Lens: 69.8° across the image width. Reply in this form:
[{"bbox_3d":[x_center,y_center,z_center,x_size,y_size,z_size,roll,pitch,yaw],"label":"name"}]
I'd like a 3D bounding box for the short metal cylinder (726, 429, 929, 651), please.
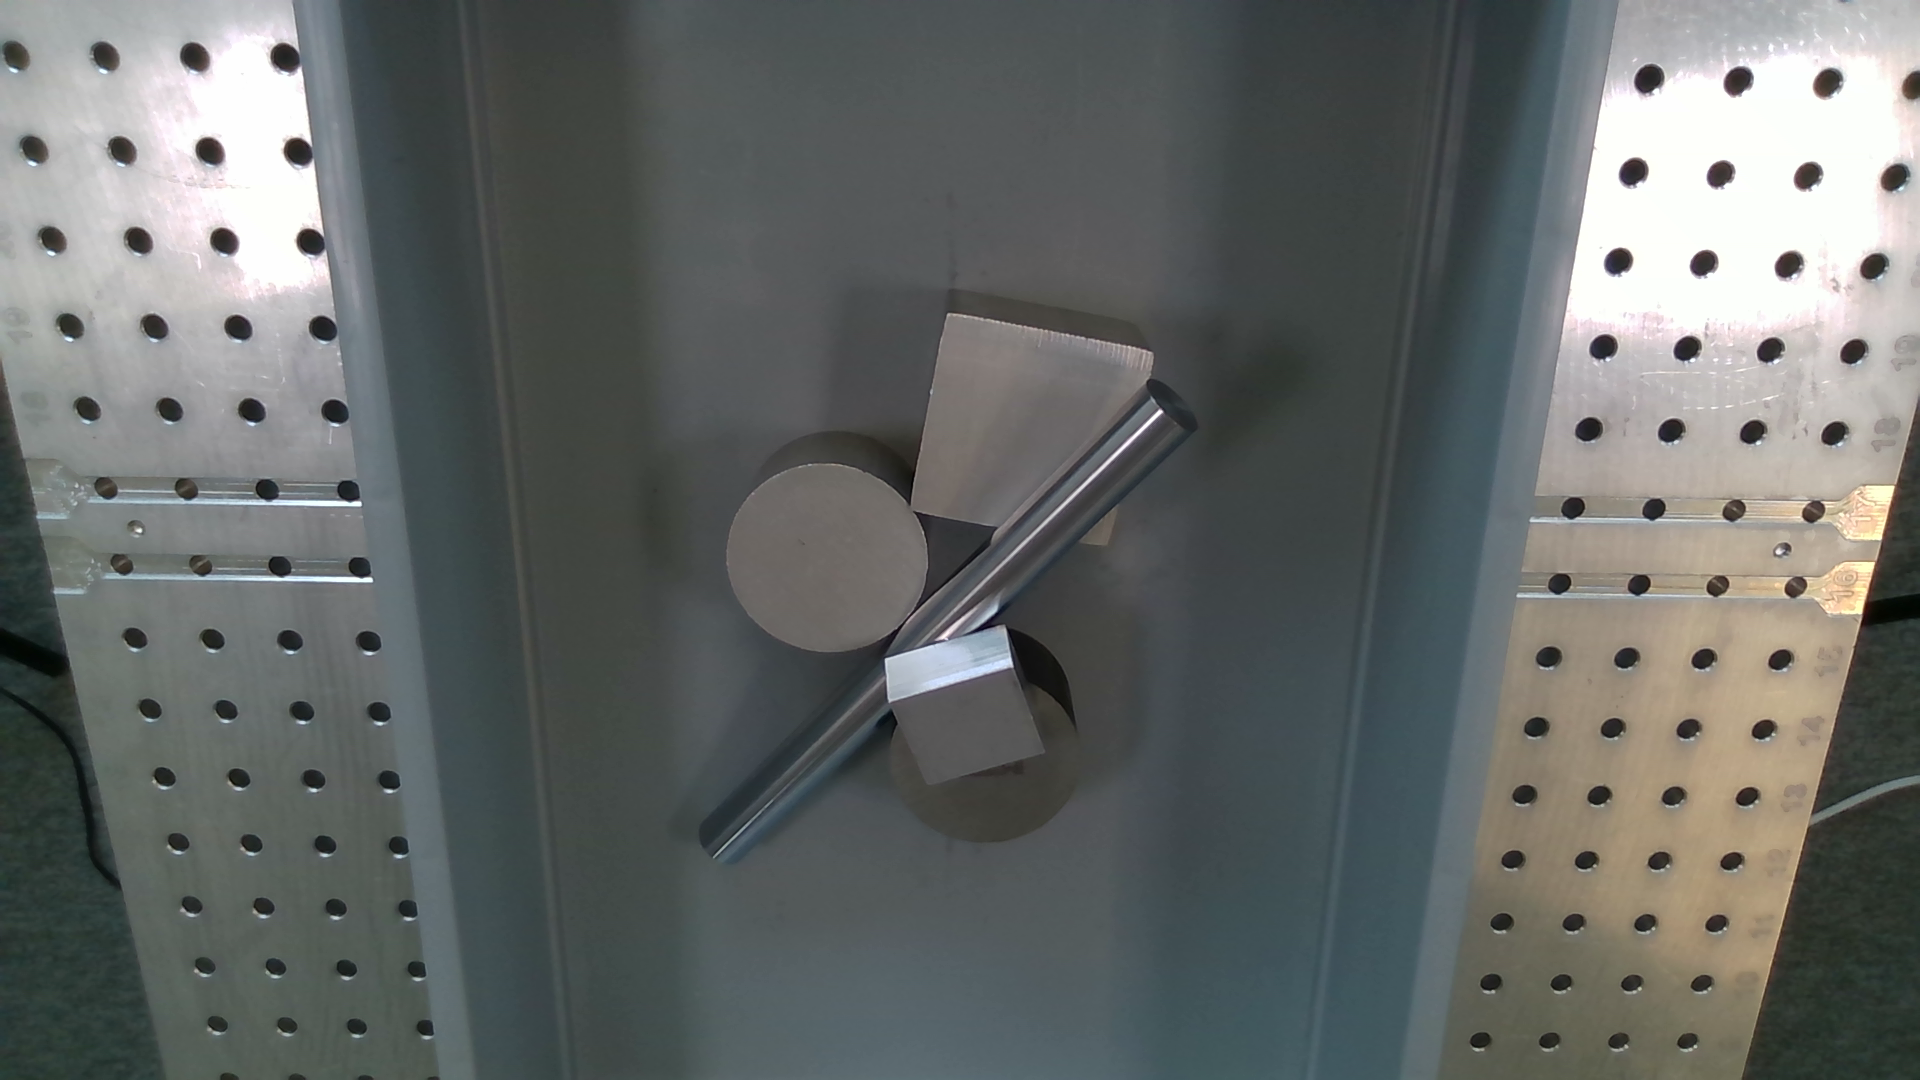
[{"bbox_3d":[-0.053,-0.001,0.570,0.080,0.050,0.080,0,110,0],"label":"short metal cylinder"}]

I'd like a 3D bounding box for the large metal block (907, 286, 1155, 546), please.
[{"bbox_3d":[0.026,-0.050,0.550,0.080,0.050,0.080,10,110,-4],"label":"large metal block"}]

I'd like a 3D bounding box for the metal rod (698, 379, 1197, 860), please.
[{"bbox_3d":[-0.018,0.044,0.563,0.025,0.025,0.301,38,120,-13],"label":"metal rod"}]

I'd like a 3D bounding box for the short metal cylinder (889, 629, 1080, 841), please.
[{"bbox_3d":[0.010,0.083,0.601,0.080,0.050,0.080,0,110,0],"label":"short metal cylinder"}]

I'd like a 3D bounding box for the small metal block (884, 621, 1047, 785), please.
[{"bbox_3d":[0.002,0.065,0.547,0.050,0.025,0.050,-17,127,6],"label":"small metal block"}]
